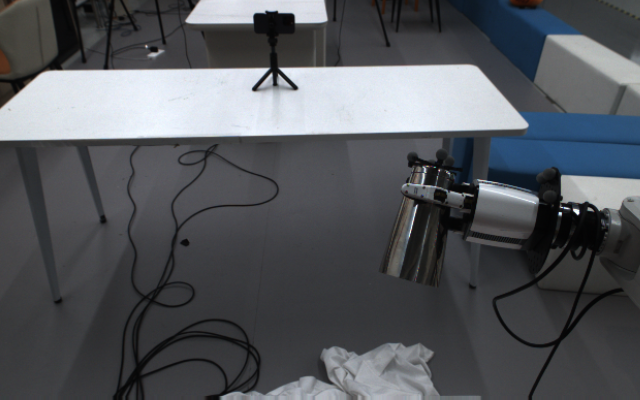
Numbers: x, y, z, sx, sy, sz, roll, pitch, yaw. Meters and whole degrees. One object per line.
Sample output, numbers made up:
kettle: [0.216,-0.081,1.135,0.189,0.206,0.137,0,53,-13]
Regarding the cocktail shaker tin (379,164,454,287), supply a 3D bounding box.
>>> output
cocktail shaker tin: [0.155,0.034,0.738,0.093,0.170,0.093,15,-5,1]
